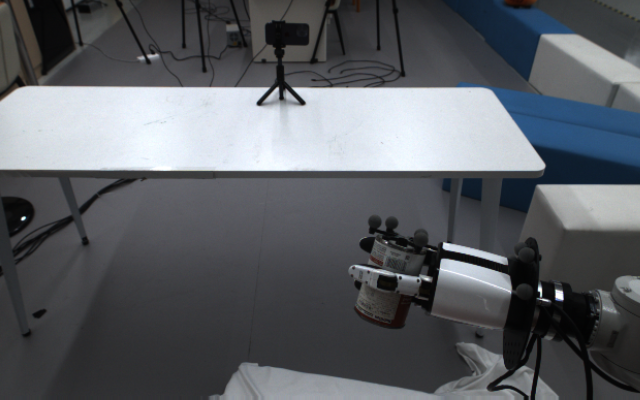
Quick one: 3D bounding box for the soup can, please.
[{"bbox_3d":[0.091,0.101,0.613,0.067,0.101,0.067,15,7,-2],"label":"soup can"}]
